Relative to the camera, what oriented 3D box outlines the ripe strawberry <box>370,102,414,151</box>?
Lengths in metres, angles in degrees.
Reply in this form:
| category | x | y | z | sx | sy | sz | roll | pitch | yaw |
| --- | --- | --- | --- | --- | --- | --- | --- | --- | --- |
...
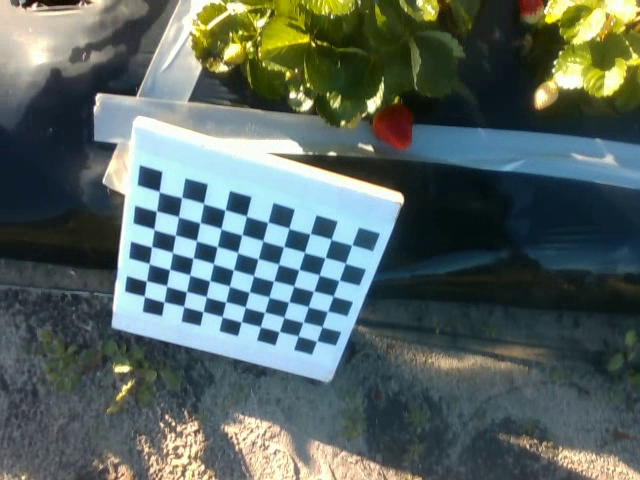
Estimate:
| category | x | y | z | sx | sy | sz | roll | pitch | yaw |
| --- | --- | --- | --- | --- | --- | --- | --- | --- | --- |
| ripe strawberry | 0.079 | -0.116 | 0.561 | 0.048 | 0.064 | 0.045 | 21 | -54 | -40 |
